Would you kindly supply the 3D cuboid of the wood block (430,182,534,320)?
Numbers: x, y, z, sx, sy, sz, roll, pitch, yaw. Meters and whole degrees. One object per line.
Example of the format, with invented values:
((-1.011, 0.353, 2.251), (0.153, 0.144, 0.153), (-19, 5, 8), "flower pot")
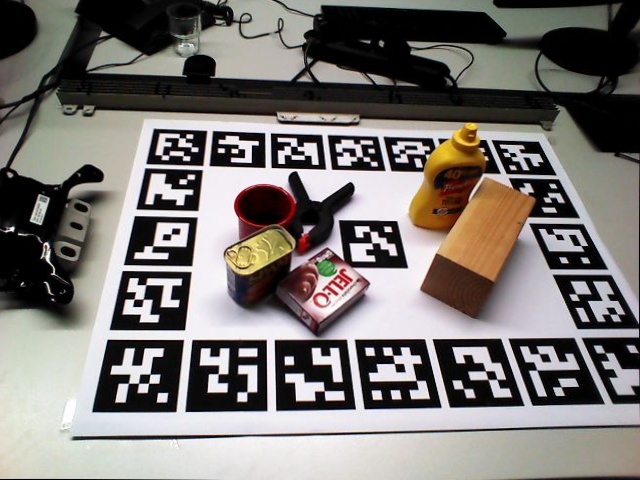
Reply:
((0.261, 0.009, 0.797), (0.090, 0.091, 0.205), (28, 51, 19), "wood block")

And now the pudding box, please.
((0.014, 0.072, 0.744), (0.113, 0.039, 0.090), (-34, 62, -31), "pudding box")

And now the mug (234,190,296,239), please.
((-0.081, -0.027, 0.816), (0.093, 0.082, 0.116), (18, 52, 8), "mug")

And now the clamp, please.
((-0.003, -0.054, 0.854), (0.122, 0.037, 0.164), (16, 52, 5), "clamp")

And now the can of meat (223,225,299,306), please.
((-0.083, 0.038, 0.725), (0.101, 0.084, 0.058), (-25, 59, -25), "can of meat")

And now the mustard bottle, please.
((0.218, -0.106, 0.815), (0.096, 0.192, 0.058), (-4, 52, -9), "mustard bottle")
